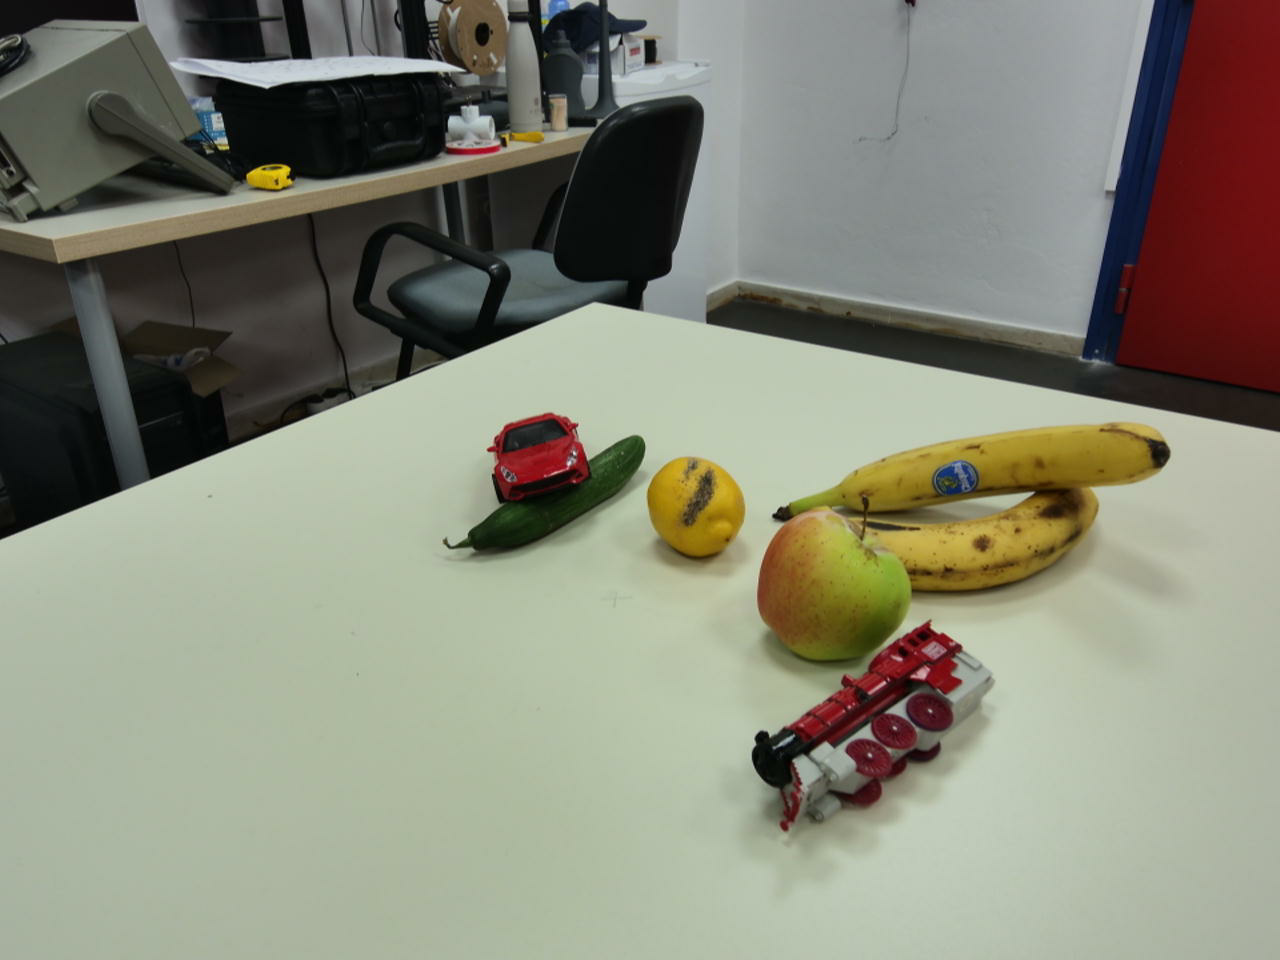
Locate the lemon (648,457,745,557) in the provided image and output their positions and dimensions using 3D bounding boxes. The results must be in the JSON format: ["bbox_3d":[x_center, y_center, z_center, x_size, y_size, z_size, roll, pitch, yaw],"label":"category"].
[{"bbox_3d":[0.034,0.016,0.598,0.061,0.056,0.058,13,28,25],"label":"lemon"}]
